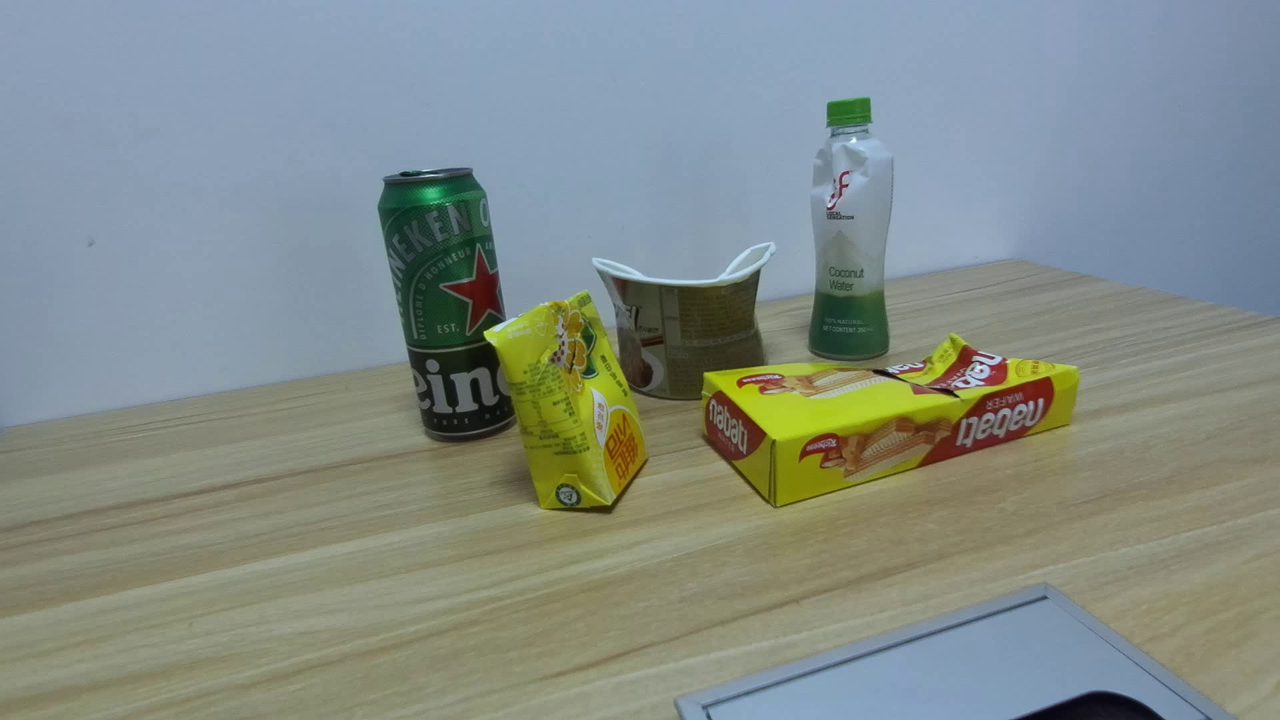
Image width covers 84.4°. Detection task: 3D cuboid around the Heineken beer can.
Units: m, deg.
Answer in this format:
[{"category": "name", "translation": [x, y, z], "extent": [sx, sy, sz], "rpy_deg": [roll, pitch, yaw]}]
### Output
[{"category": "Heineken beer can", "translation": [-0.122, -0.035, 0.461], "extent": [0.067, 0.169, 0.067], "rpy_deg": [-5, 18, 2]}]

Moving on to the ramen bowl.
[{"category": "ramen bowl", "translation": [0.034, -0.030, 0.516], "extent": [0.137, 0.098, 0.137], "rpy_deg": [-6, 19, 3]}]

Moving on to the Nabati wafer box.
[{"category": "Nabati wafer box", "translation": [0.146, 0.024, 0.423], "extent": [0.205, 0.042, 0.106], "rpy_deg": [-10, 21, -17]}]

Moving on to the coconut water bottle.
[{"category": "coconut water bottle", "translation": [0.157, -0.096, 0.531], "extent": [0.069, 0.186, 0.069], "rpy_deg": [-5, 18, 2]}]

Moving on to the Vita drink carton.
[{"category": "Vita drink carton", "translation": [-0.038, 0.020, 0.383], "extent": [0.042, 0.108, 0.087], "rpy_deg": [-12, 12, 24]}]
